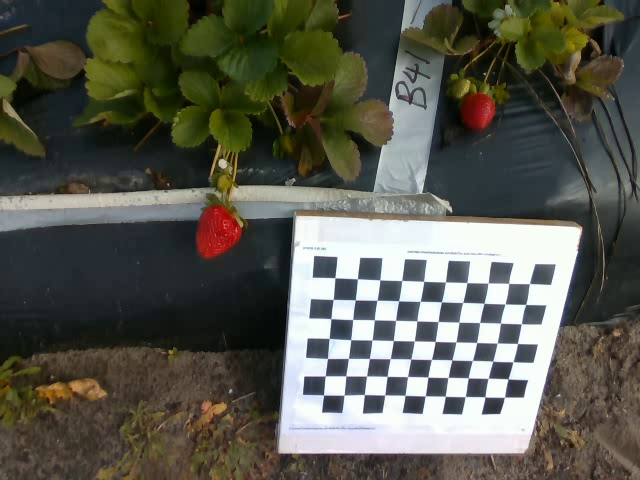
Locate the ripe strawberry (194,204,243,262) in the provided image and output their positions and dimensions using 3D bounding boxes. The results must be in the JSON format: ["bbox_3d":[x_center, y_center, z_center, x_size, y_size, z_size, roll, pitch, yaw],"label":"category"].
[{"bbox_3d":[-0.091,-0.006,0.513,0.048,0.052,0.030,40,-14,-19],"label":"ripe strawberry"}]

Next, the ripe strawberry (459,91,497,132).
[{"bbox_3d":[0.149,-0.116,0.549,0.038,0.048,0.030,16,-36,-12],"label":"ripe strawberry"}]
